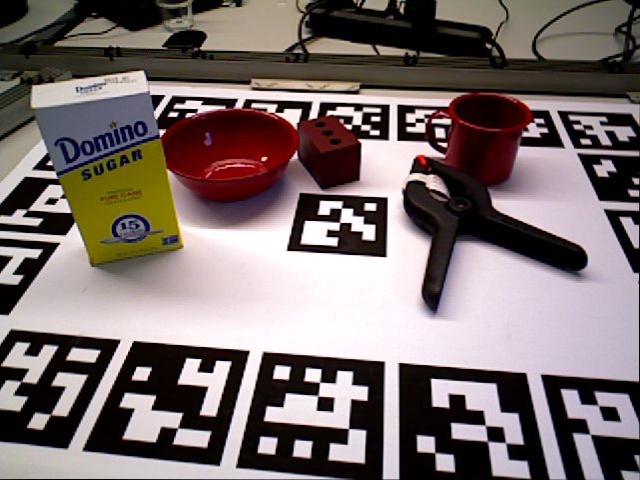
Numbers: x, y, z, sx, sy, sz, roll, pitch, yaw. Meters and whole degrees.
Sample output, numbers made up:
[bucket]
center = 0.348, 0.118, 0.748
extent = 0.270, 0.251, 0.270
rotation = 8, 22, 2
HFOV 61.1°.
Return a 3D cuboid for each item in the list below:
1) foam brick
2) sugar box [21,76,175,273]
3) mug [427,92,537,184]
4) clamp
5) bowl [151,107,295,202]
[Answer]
[foam brick]
center = 0.009, -0.099, 0.638
extent = 0.052, 0.052, 0.077
rotation = -17, 46, -16
[sugar box]
center = -0.191, -0.053, 0.491
extent = 0.091, 0.180, 0.045
rotation = -13, 46, -16
[mug]
center = 0.179, -0.124, 0.627
extent = 0.117, 0.083, 0.091
rotation = 24, 48, 19
[clamp]
center = 0.138, -0.026, 0.551
extent = 0.163, 0.037, 0.201
rotation = -15, 46, -12
[bowl]
center = -0.109, -0.093, 0.622
extent = 0.161, 0.056, 0.159
rotation = 0, 43, -1
